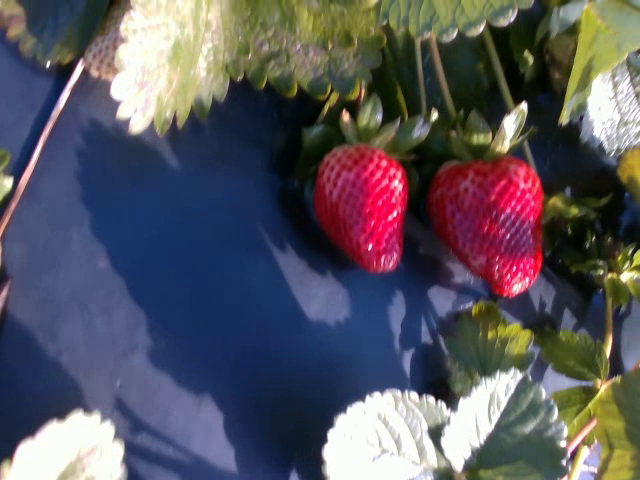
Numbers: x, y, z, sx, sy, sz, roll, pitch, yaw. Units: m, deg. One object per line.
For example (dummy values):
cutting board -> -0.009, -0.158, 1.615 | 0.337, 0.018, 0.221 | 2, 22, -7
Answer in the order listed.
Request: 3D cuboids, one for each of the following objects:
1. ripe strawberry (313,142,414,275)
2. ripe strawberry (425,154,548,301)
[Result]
ripe strawberry -> 0.015, -0.009, 0.227 | 0.043, 0.052, 0.037 | -19, -17, 2
ripe strawberry -> 0.066, -0.003, 0.250 | 0.052, 0.058, 0.046 | -12, -20, -3
